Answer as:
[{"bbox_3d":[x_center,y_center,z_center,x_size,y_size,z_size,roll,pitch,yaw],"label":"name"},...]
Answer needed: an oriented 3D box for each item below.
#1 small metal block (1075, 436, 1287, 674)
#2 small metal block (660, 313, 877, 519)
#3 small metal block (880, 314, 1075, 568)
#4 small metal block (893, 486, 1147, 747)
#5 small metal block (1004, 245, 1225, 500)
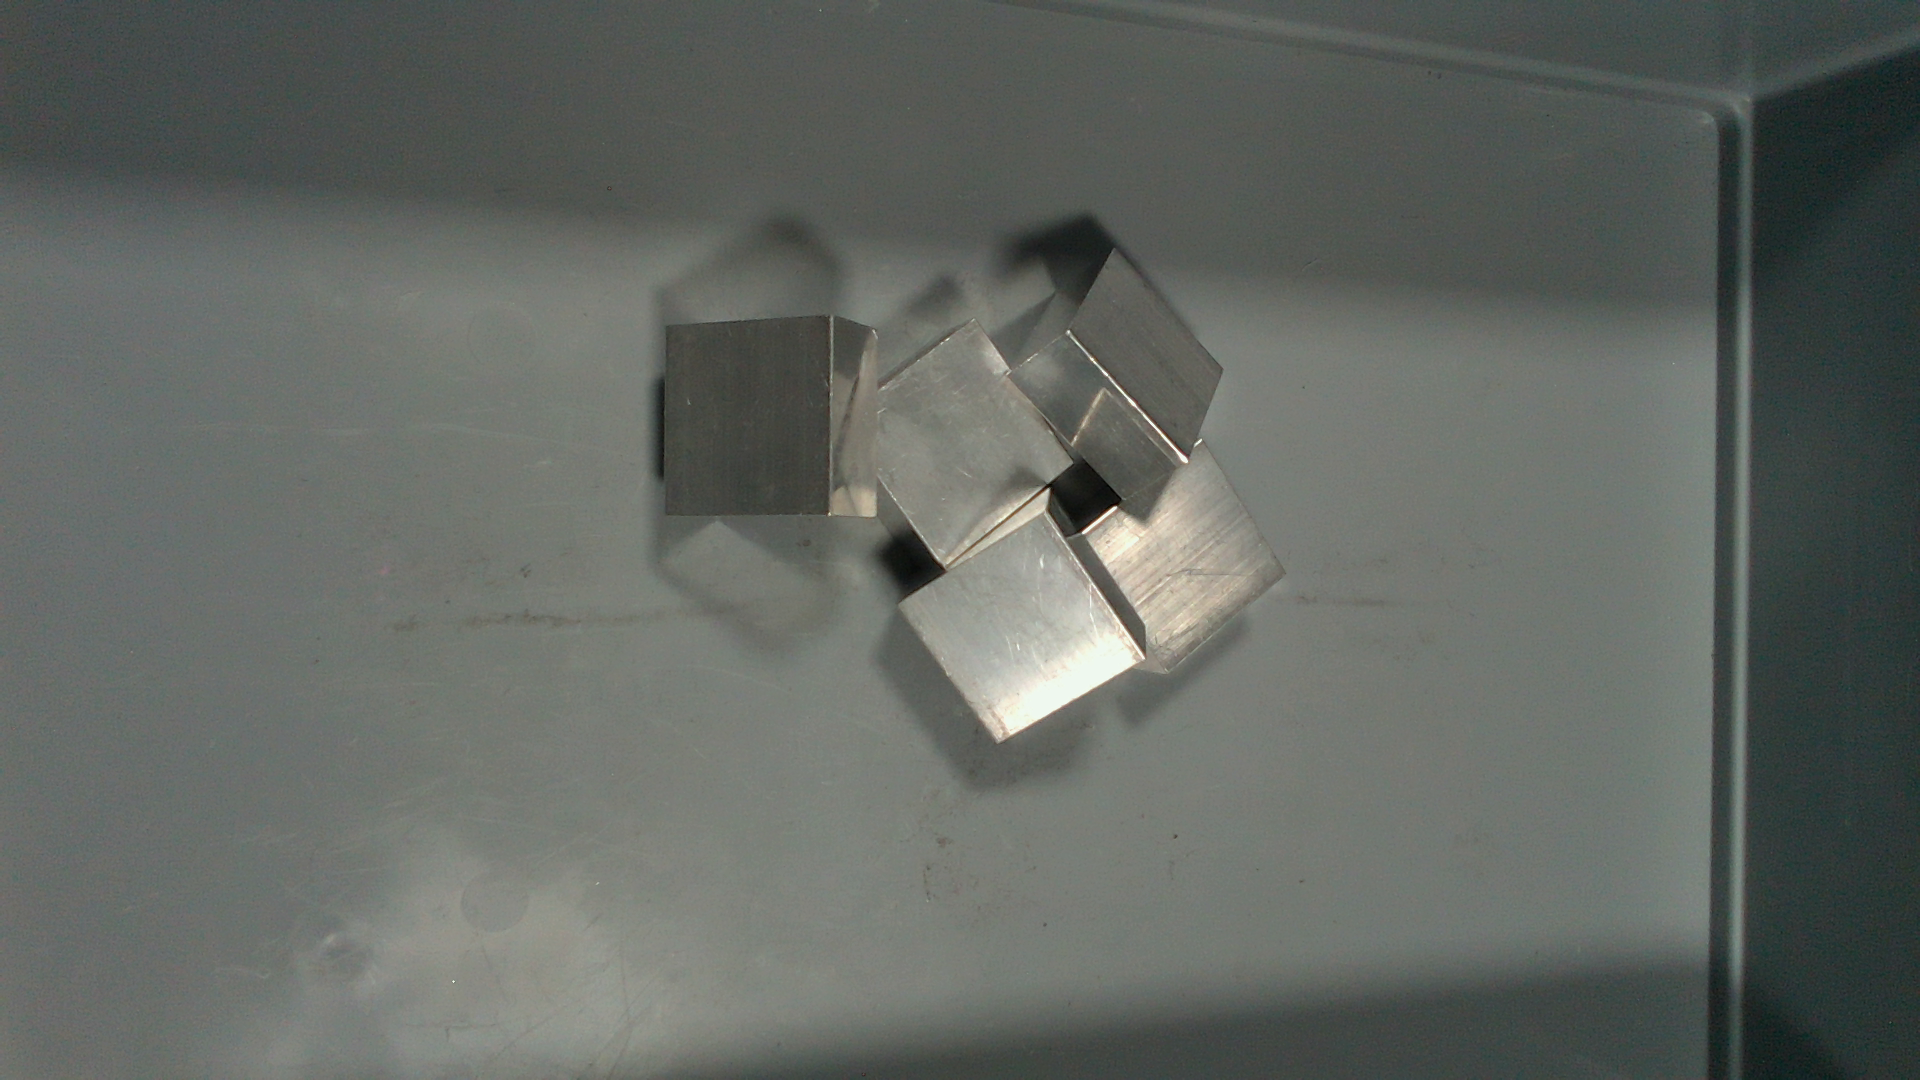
[{"bbox_3d":[0.062,0.004,0.414,0.050,0.025,0.050,-38,102,-16],"label":"small metal block"},{"bbox_3d":[-0.050,-0.031,0.359,0.050,0.025,0.050,0,89,24],"label":"small metal block"},{"bbox_3d":[-0.005,-0.027,0.390,0.050,0.025,0.050,-39,103,-16],"label":"small metal block"},{"bbox_3d":[0.018,0.021,0.386,0.050,0.025,0.050,-32,102,15],"label":"small metal block"},{"bbox_3d":[0.046,-0.049,0.397,0.050,0.025,0.050,45,41,-15],"label":"small metal block"}]
